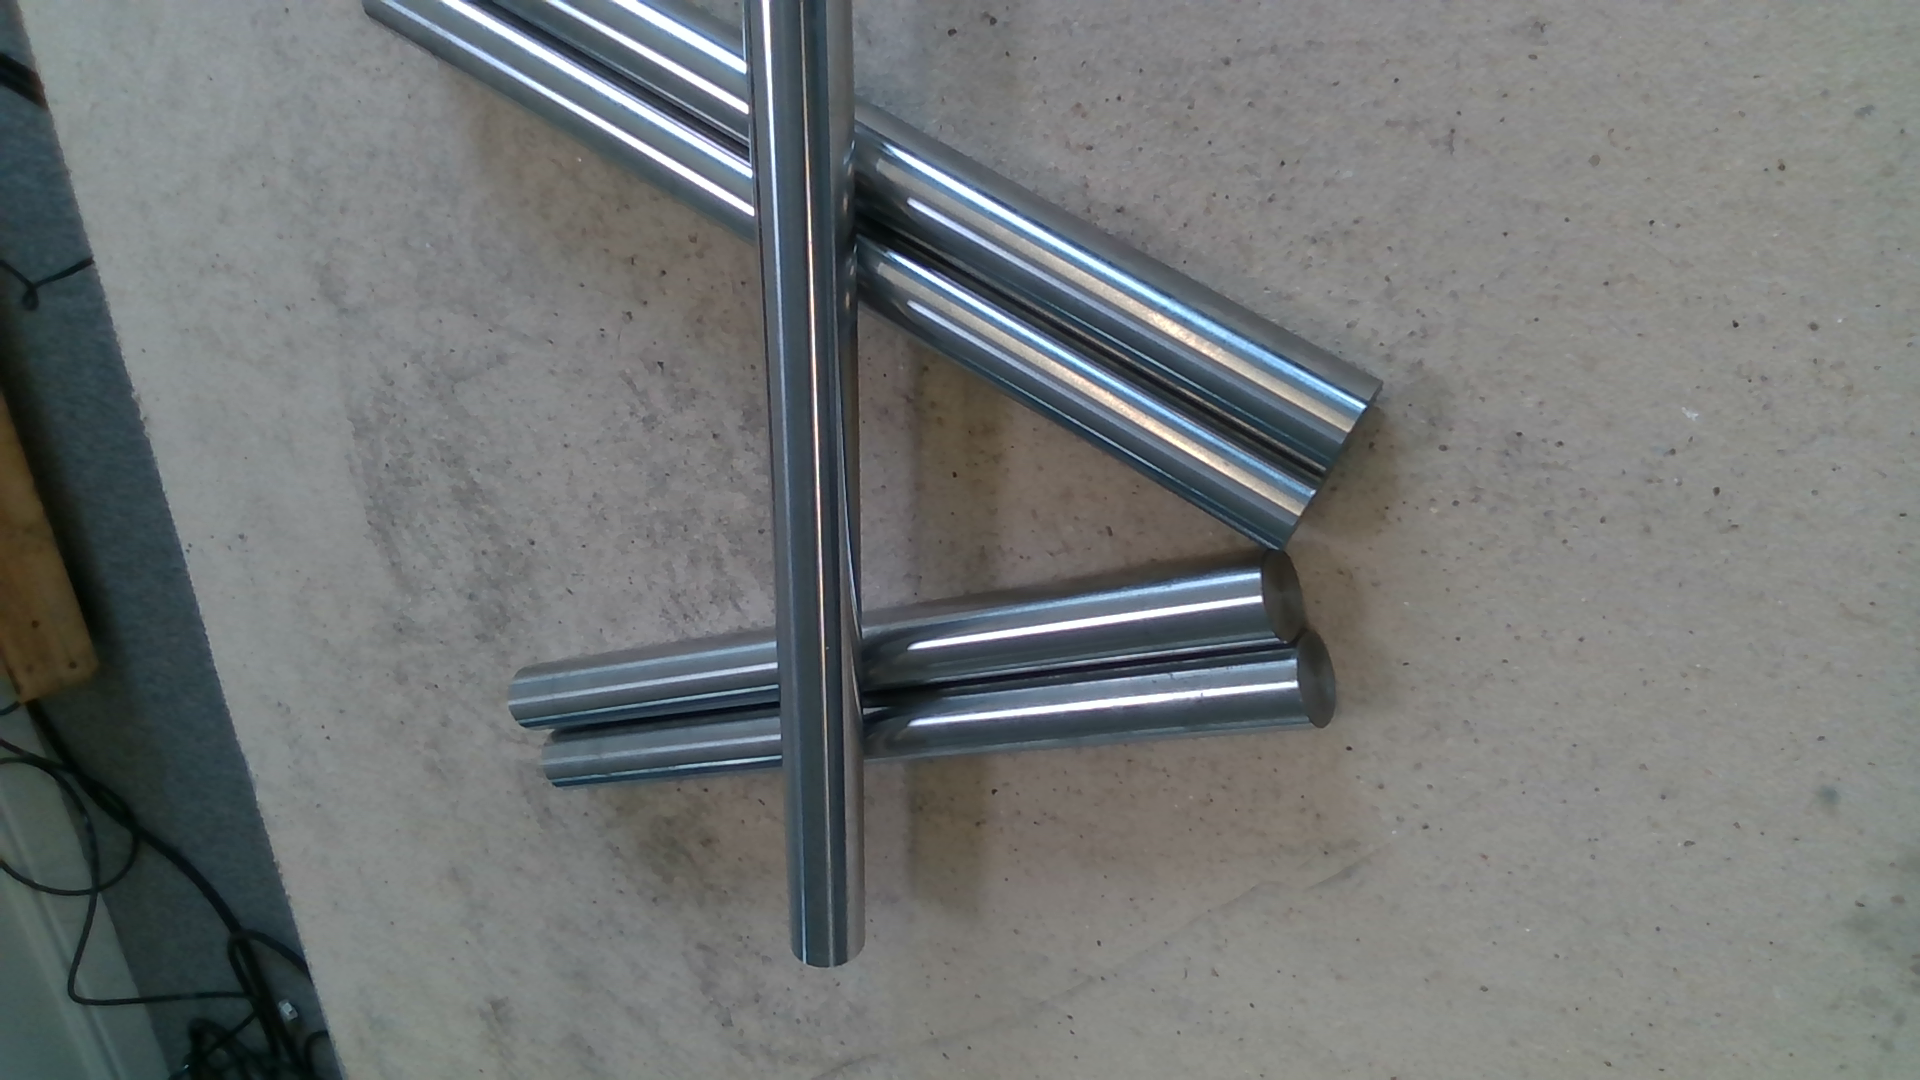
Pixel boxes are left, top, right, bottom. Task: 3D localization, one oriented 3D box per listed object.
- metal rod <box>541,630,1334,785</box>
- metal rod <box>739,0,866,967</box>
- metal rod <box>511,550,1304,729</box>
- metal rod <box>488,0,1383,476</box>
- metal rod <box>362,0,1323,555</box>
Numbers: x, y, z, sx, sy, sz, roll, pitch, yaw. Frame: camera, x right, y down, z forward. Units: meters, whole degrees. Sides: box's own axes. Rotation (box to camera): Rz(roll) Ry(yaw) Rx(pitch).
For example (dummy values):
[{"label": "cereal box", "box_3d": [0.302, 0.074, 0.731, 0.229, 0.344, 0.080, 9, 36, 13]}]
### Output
[{"label": "metal rod", "box_3d": [-0.029, 0.058, 0.440, 0.300, 0.025, 0.025, -11, 109, 35]}, {"label": "metal rod", "box_3d": [-0.040, 0.001, 0.382, 0.025, 0.025, 0.301, 16, 123, 24]}, {"label": "metal rod", "box_3d": [-0.039, 0.036, 0.434, 0.300, 0.025, 0.025, -11, 109, 35]}, {"label": "metal rod", "box_3d": [-0.033, -0.103, 0.352, 0.300, 0.025, 0.025, 32, 128, 13]}, {"label": "metal rod", "box_3d": [-0.040, -0.084, 0.367, 0.300, 0.025, 0.025, 32, 128, 13]}]
